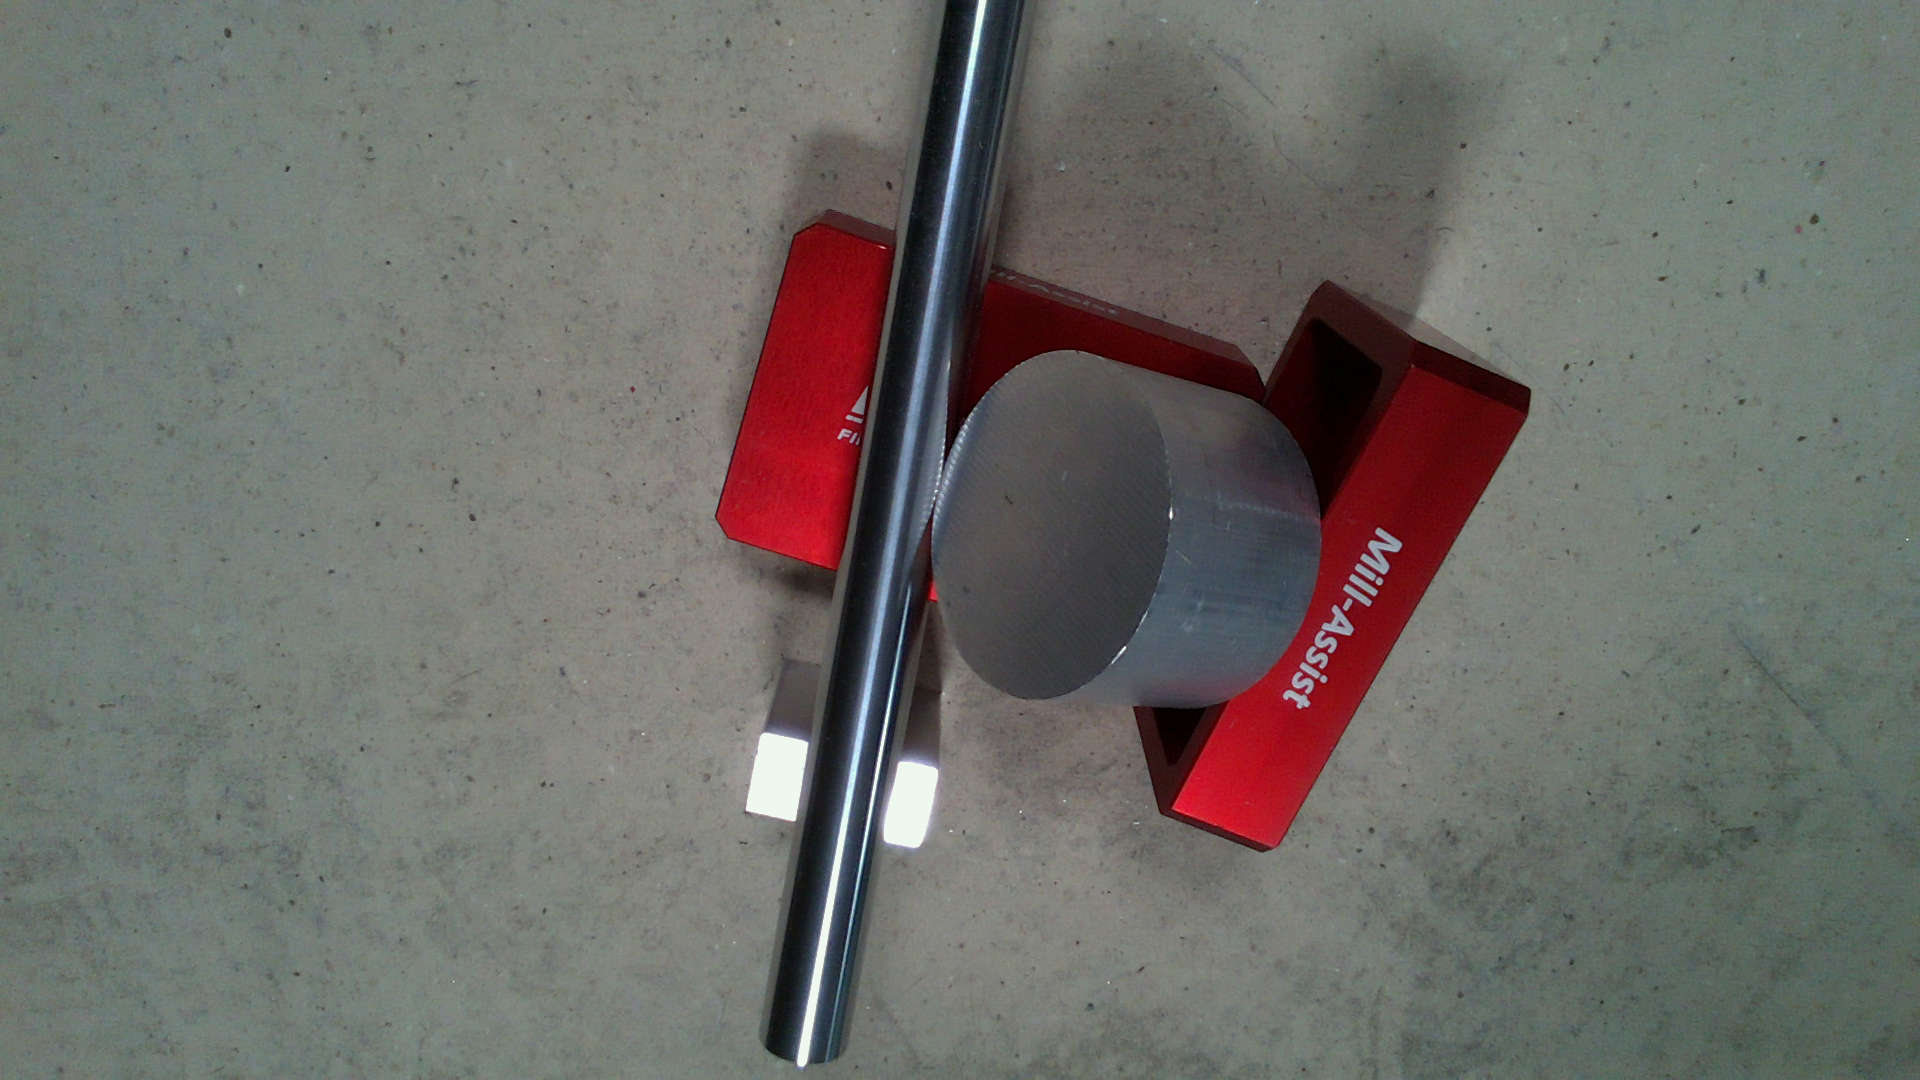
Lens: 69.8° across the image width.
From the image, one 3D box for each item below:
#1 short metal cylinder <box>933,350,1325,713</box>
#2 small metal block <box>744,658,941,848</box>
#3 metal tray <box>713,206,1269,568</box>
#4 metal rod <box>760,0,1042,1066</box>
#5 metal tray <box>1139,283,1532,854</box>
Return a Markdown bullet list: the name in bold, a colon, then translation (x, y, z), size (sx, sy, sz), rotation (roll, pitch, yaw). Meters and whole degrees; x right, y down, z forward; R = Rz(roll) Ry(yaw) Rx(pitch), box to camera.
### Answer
- **short metal cylinder**: translation (0.038, 0.000, 0.326), size (0.050, 0.080, 0.080), rotation (9, 114, -38)
- **small metal block**: translation (-0.033, 0.061, 0.403), size (0.050, 0.050, 0.025), rotation (12, 110, -4)
- **metal tray**: translation (0.007, -0.028, 0.381), size (0.130, 0.030, 0.090), rotation (17, 109, -6)
- **metal rod**: translation (-0.016, -0.007, 0.350), size (0.025, 0.025, 0.300), rotation (10, 101, -4)
- **metal tray**: translation (0.089, 0.004, 0.361), size (0.030, 0.090, 0.130), rotation (21, 109, -8)
